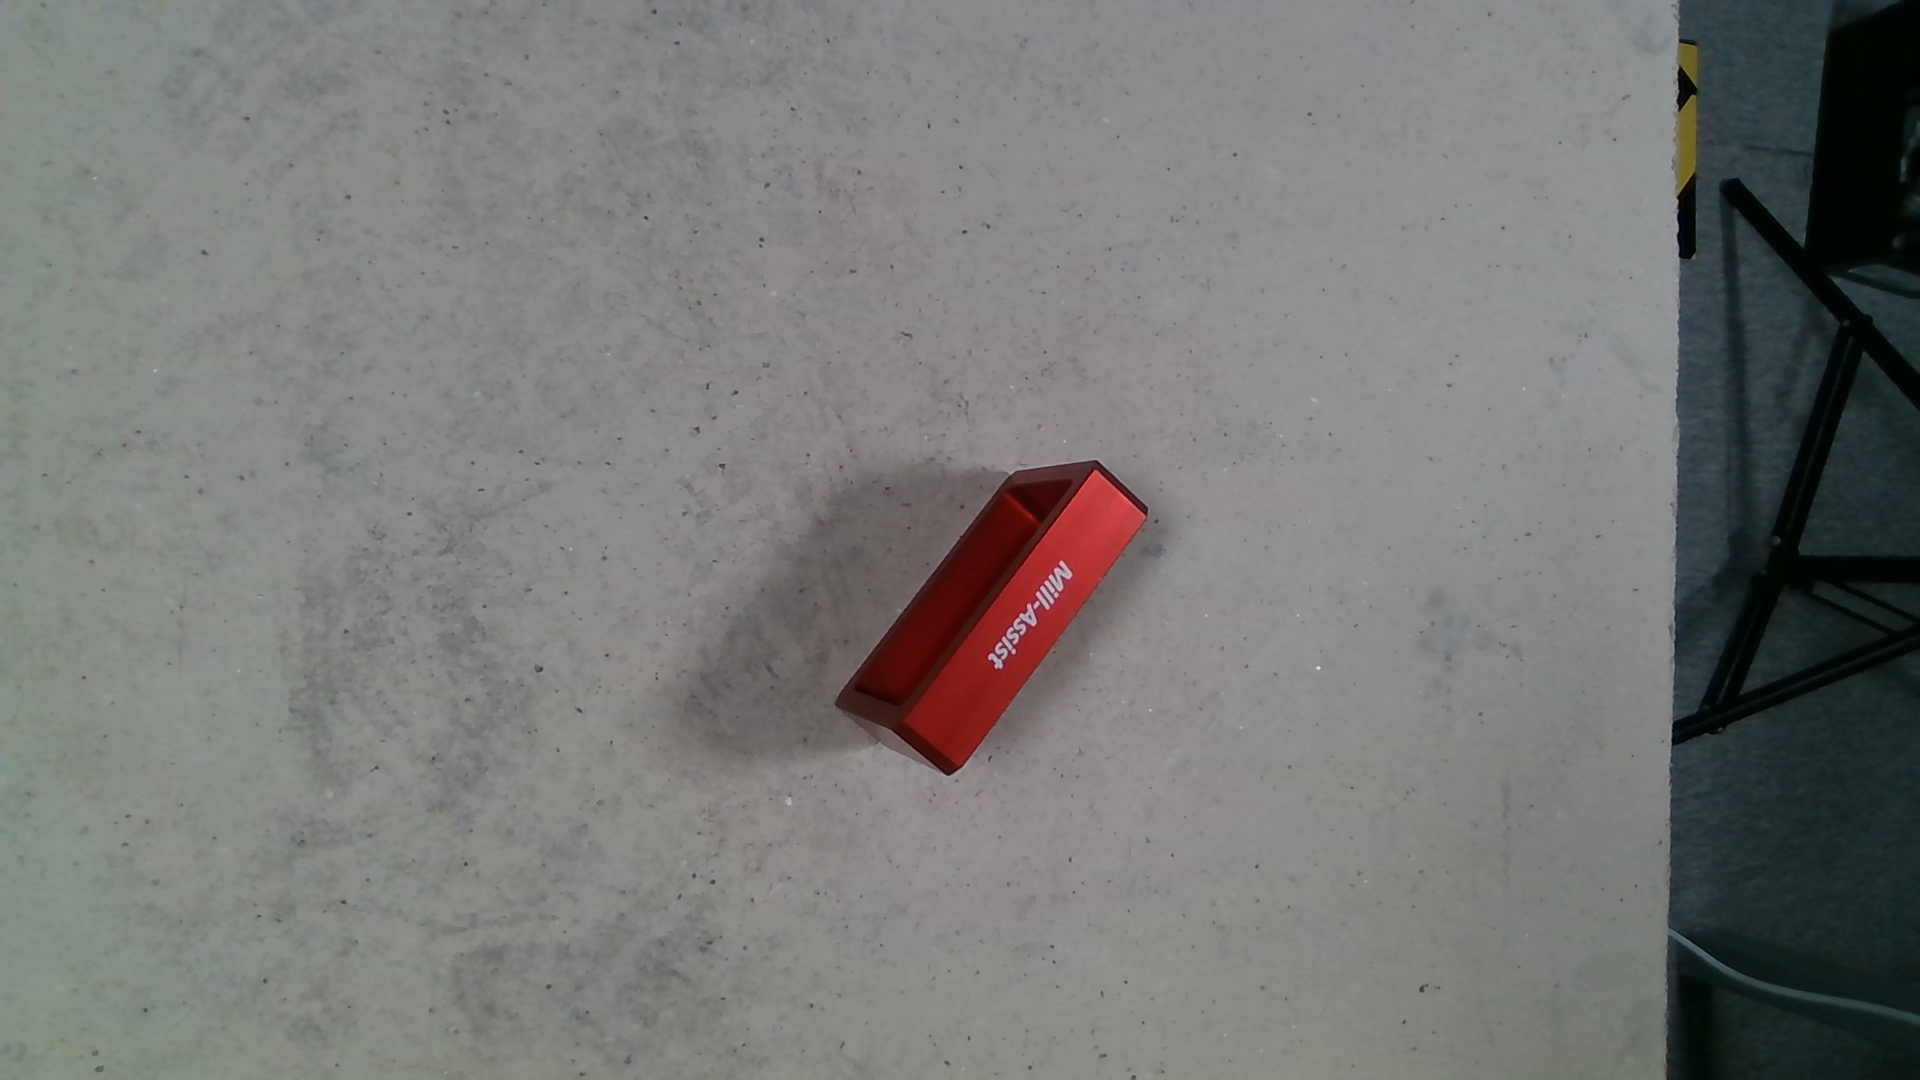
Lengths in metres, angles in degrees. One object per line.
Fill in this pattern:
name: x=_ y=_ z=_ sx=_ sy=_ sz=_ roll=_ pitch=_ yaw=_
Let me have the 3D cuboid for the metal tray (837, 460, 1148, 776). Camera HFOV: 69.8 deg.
metal tray: x=0.011 y=0.028 z=0.555 sx=0.030 sy=0.090 sz=0.130 roll=41 pitch=77 yaw=-15
